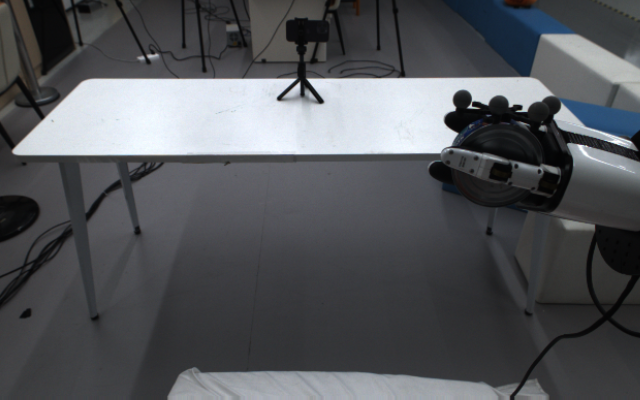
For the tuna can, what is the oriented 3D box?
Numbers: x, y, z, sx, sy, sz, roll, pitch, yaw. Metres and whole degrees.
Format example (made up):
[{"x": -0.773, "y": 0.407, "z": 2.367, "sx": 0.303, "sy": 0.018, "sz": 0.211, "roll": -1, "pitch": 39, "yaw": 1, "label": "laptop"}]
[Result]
[{"x": 0.175, "y": -0.039, "z": 0.480, "sx": 0.085, "sy": 0.085, "sz": 0.034, "roll": 7, "pitch": 23, "yaw": 7, "label": "tuna can"}]
